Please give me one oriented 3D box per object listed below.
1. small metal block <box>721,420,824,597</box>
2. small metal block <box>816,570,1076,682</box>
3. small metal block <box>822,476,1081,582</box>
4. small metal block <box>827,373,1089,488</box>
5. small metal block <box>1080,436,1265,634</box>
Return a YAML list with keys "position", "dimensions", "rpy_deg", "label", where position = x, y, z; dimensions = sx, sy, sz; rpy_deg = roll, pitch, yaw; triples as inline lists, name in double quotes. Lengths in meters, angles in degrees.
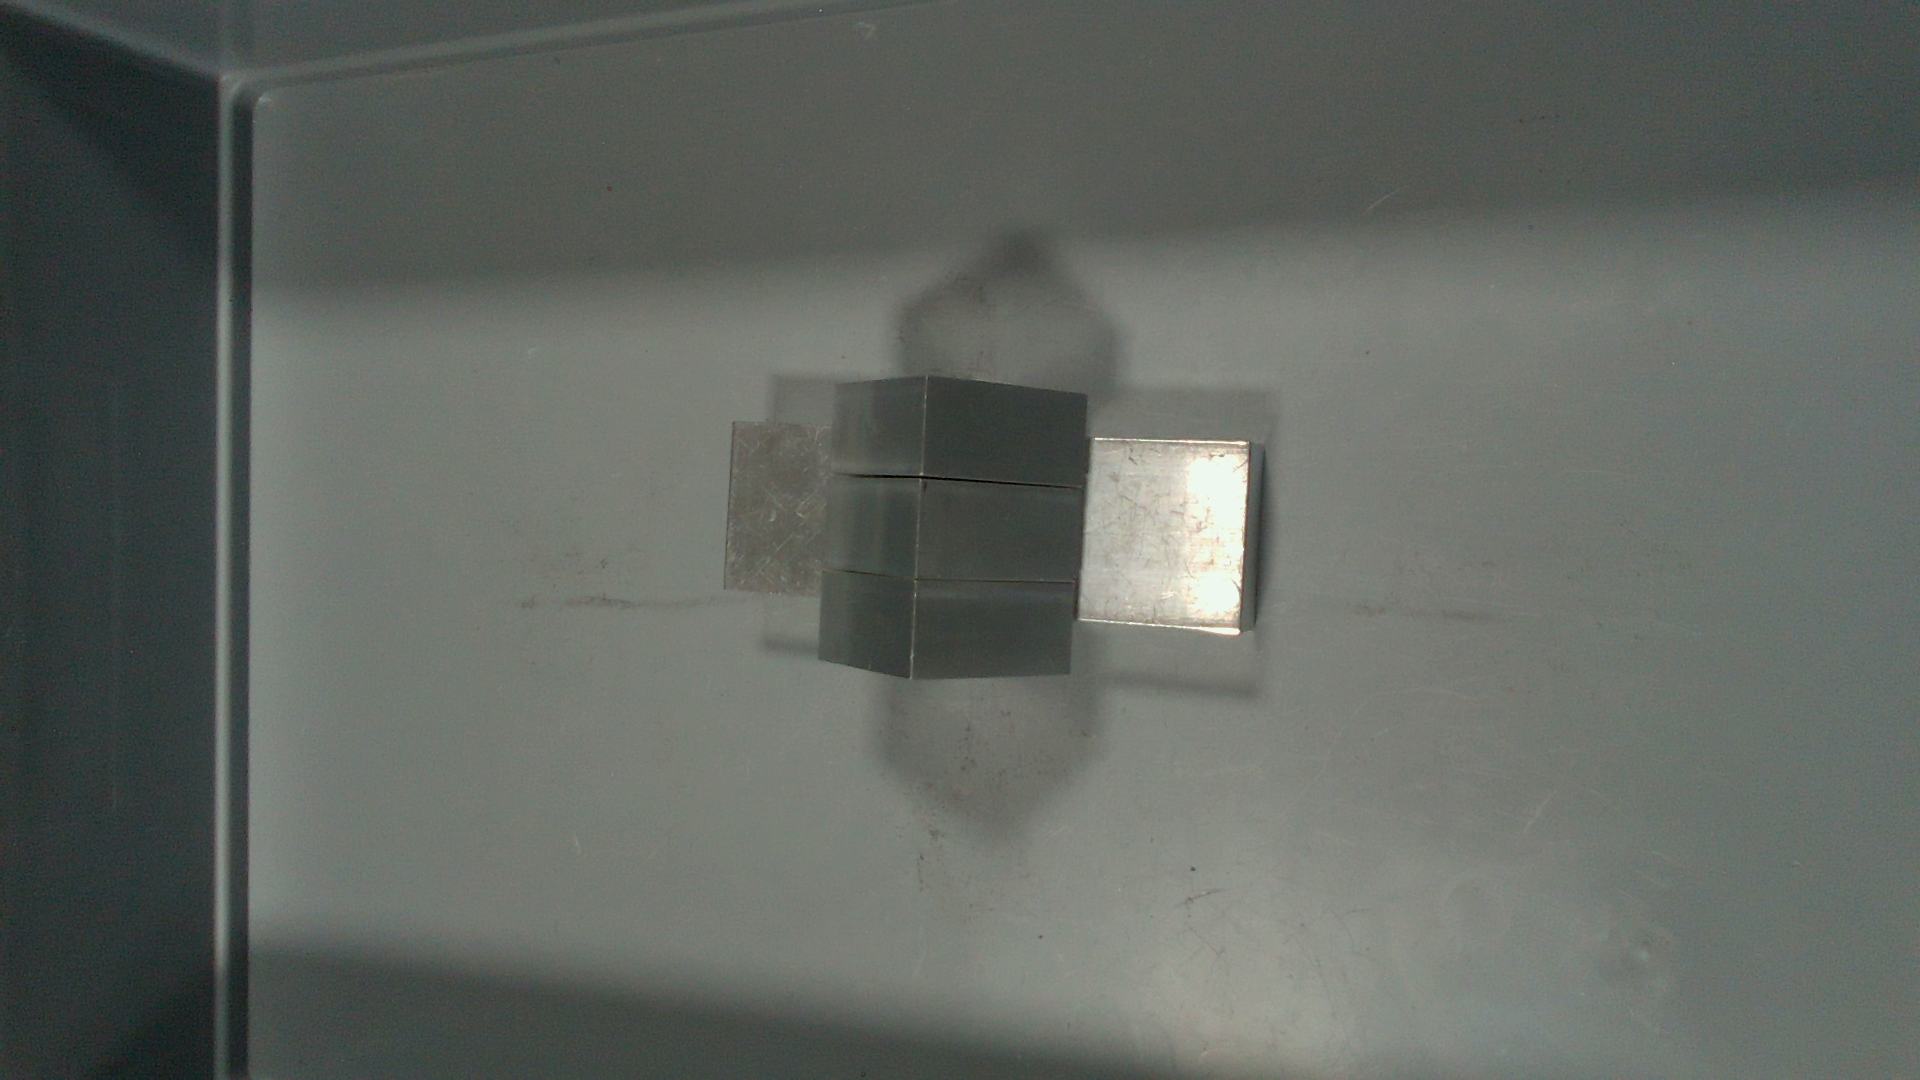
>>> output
- position: [-0.041, -0.009, 0.410]
  dimensions: [0.050, 0.025, 0.050]
  rpy_deg: [4, 91, 20]
  label: "small metal block"
- position: [-0.004, 0.022, 0.372]
  dimensions: [0.050, 0.050, 0.025]
  rpy_deg: [3, 91, 56]
  label: "small metal block"
- position: [-0.003, -0.003, 0.372]
  dimensions: [0.050, 0.050, 0.025]
  rpy_deg: [3, 91, 56]
  label: "small metal block"
- position: [-0.001, -0.028, 0.371]
  dimensions: [0.050, 0.050, 0.025]
  rpy_deg: [5, 91, 56]
  label: "small metal block"
- position: [0.055, -0.002, 0.375]
  dimensions: [0.050, 0.025, 0.050]
  rpy_deg: [3, 91, 20]
  label: "small metal block"
